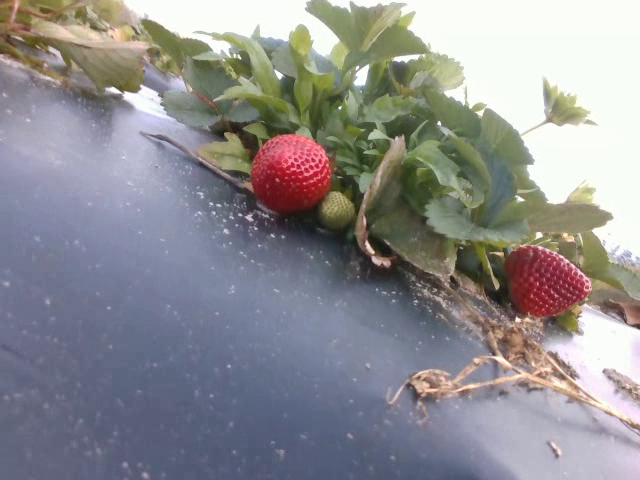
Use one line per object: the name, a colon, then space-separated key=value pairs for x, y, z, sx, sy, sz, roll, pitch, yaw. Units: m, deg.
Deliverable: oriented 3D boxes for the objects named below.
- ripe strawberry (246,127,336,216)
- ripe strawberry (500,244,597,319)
ripe strawberry: x=-0.017 y=-0.030 z=0.287 sx=0.043 sy=0.042 sz=0.050 roll=31 pitch=11 yaw=7
ripe strawberry: x=0.128 y=0.022 z=0.338 sx=0.046 sy=0.047 sz=0.043 roll=12 pitch=26 yaw=34
